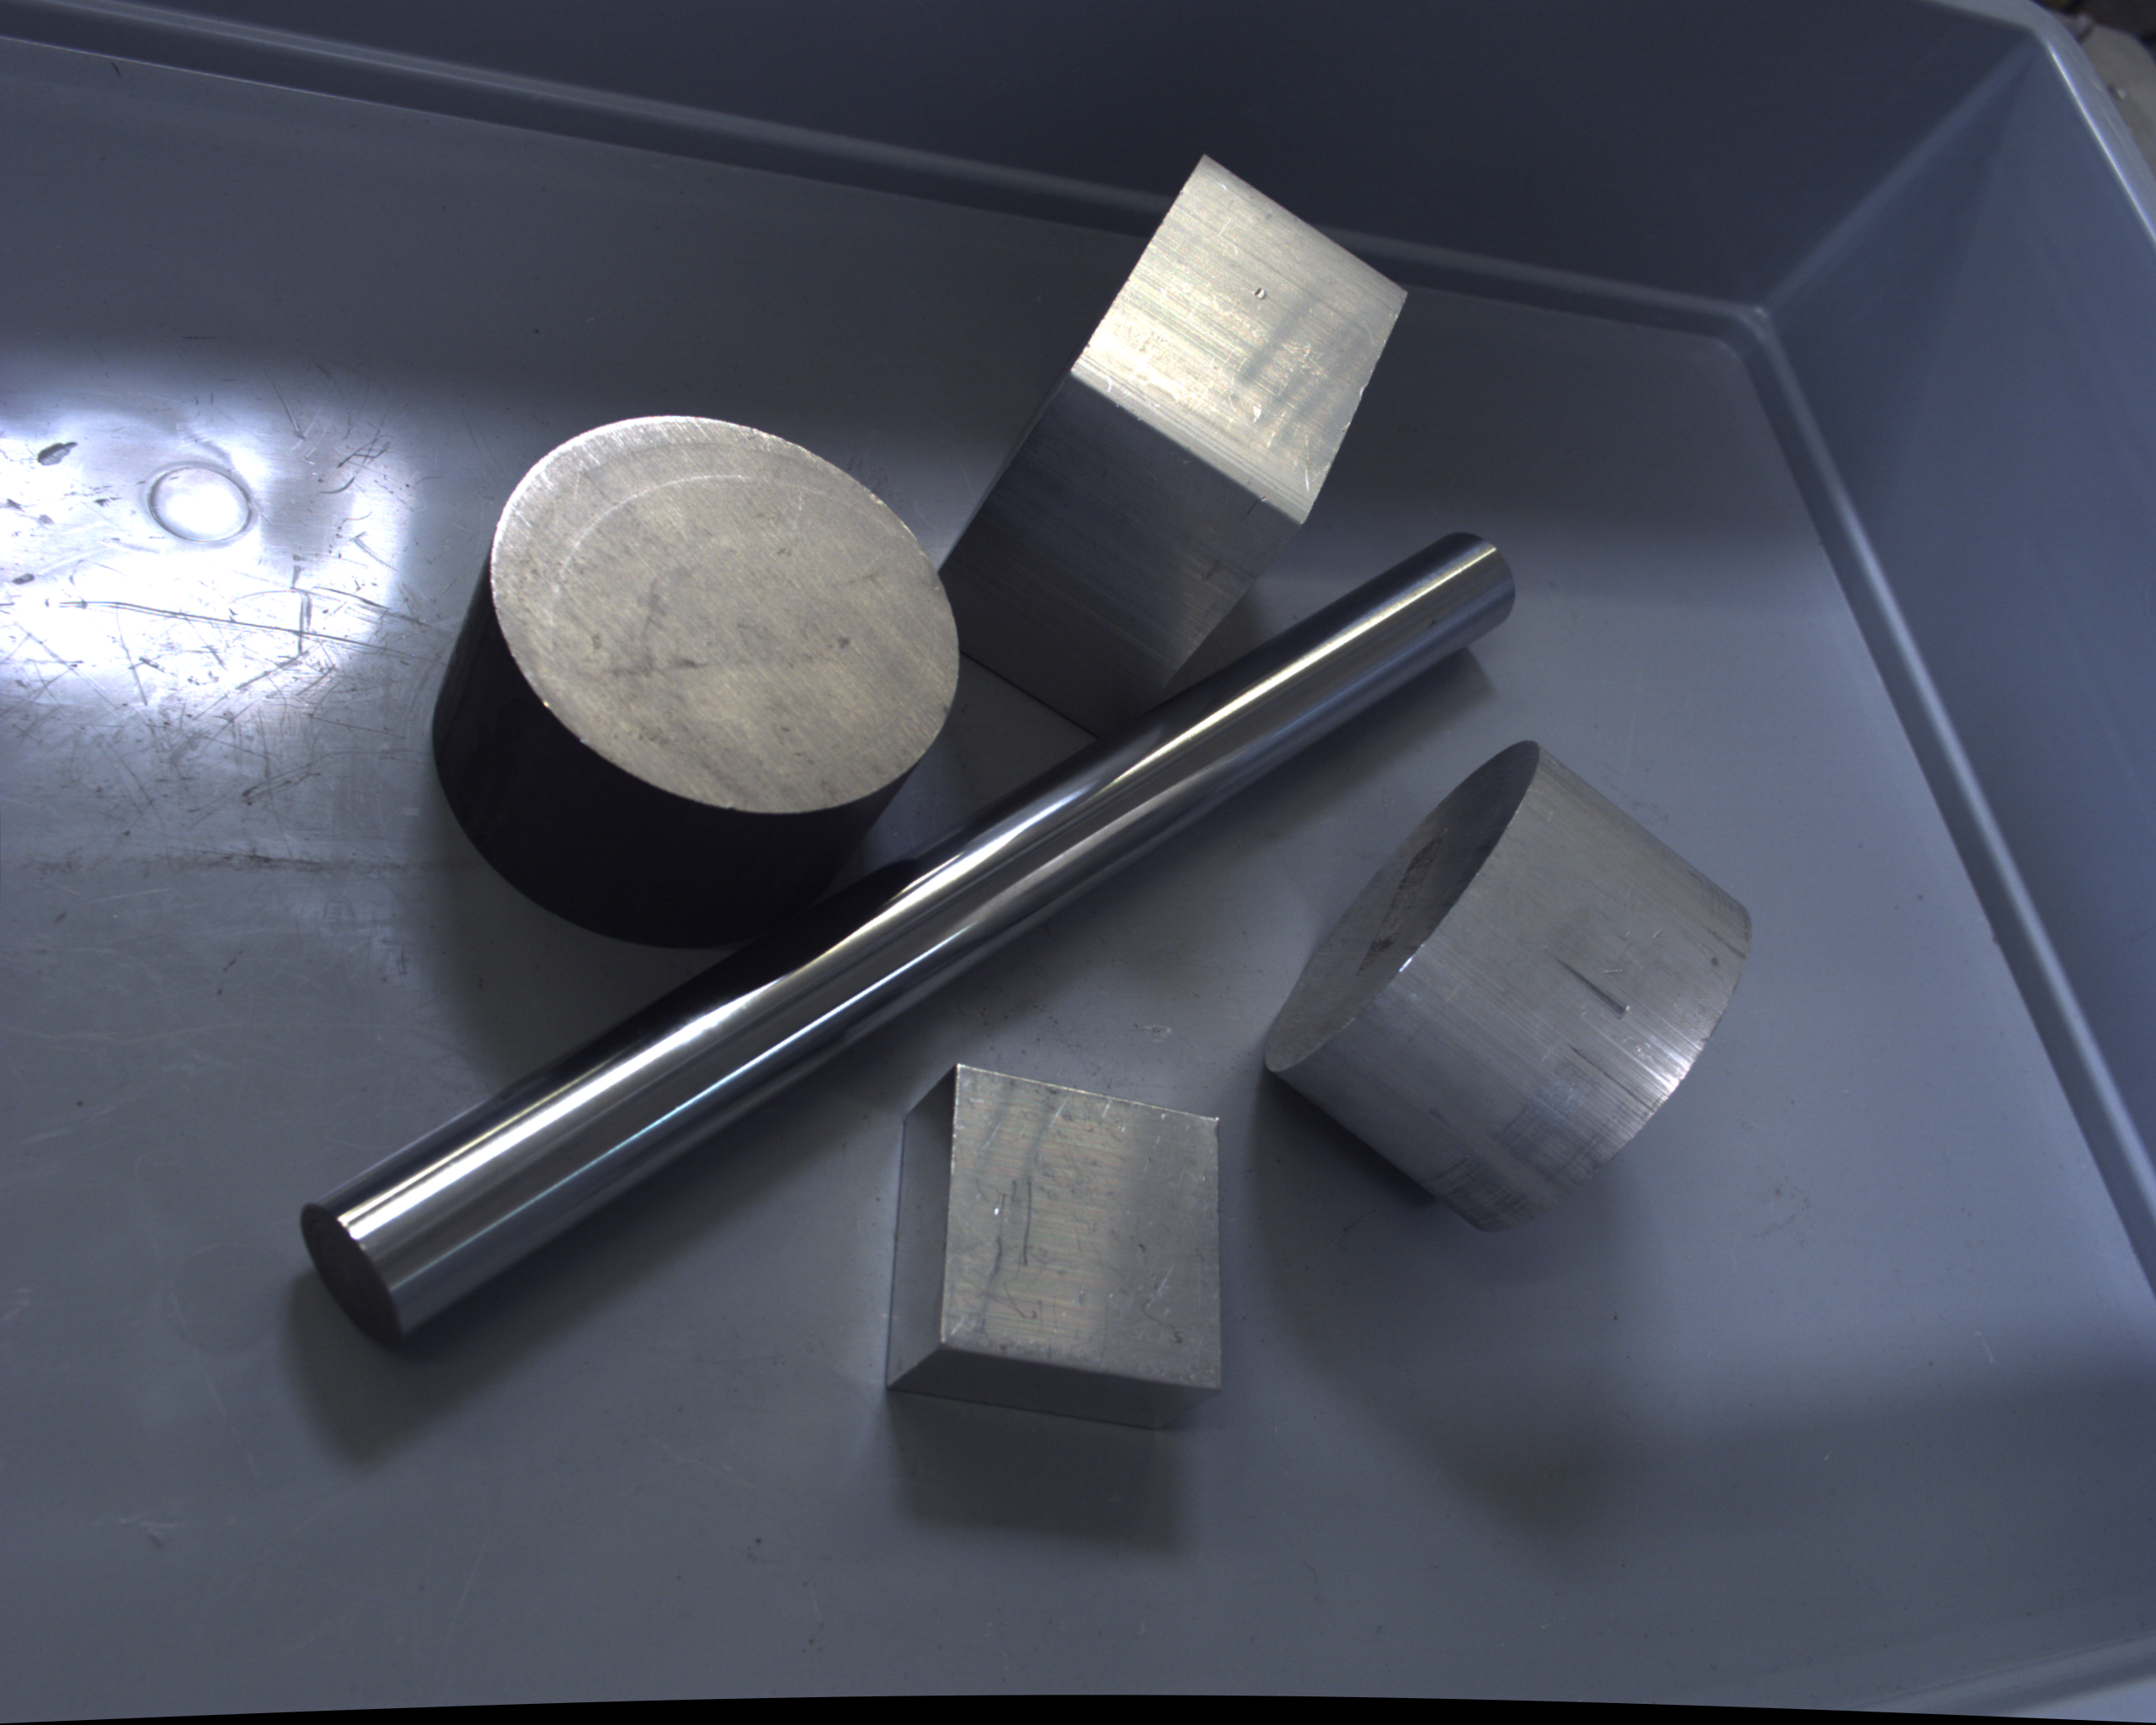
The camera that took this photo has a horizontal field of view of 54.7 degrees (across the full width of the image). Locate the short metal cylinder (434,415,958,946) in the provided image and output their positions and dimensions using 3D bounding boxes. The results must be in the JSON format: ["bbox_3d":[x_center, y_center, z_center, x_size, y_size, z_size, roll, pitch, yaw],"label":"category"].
[{"bbox_3d":[-0.068,-0.032,0.370,0.081,0.050,0.080,14,56,-21],"label":"short metal cylinder"}]

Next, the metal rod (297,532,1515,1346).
[{"bbox_3d":[-0.008,-0.003,0.401,0.302,0.025,0.025,-32,80,-38],"label":"metal rod"}]

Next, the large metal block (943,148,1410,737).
[{"bbox_3d":[0.016,-0.083,0.428,0.050,0.080,0.080,32,52,-8],"label":"large metal block"}]

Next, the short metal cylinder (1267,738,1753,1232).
[{"bbox_3d":[0.081,0.023,0.398,0.050,0.080,0.080,38,51,-4],"label":"short metal cylinder"}]

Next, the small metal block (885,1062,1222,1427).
[{"bbox_3d":[-0.004,0.067,0.361,0.050,0.025,0.050,14,56,-21],"label":"small metal block"}]
